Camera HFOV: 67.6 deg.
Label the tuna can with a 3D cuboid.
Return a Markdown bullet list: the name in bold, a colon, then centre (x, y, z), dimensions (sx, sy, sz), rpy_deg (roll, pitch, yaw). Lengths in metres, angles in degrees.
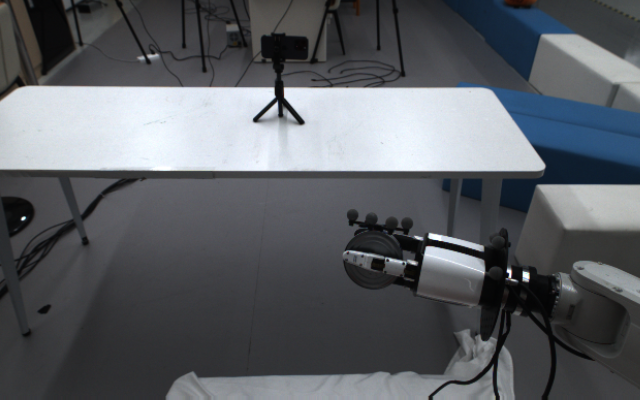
- **tuna can**: centre (0.080, 0.082, 0.704), dimensions (0.085, 0.085, 0.034), rpy_deg (11, 1, 13)
